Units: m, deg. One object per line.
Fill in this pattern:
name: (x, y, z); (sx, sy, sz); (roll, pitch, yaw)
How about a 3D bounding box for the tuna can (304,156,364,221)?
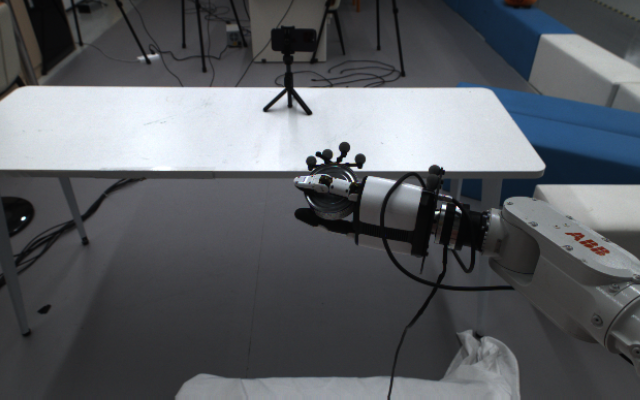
tuna can: (0.019, -0.012, 0.748); (0.085, 0.034, 0.085); (-6, 61, 10)
